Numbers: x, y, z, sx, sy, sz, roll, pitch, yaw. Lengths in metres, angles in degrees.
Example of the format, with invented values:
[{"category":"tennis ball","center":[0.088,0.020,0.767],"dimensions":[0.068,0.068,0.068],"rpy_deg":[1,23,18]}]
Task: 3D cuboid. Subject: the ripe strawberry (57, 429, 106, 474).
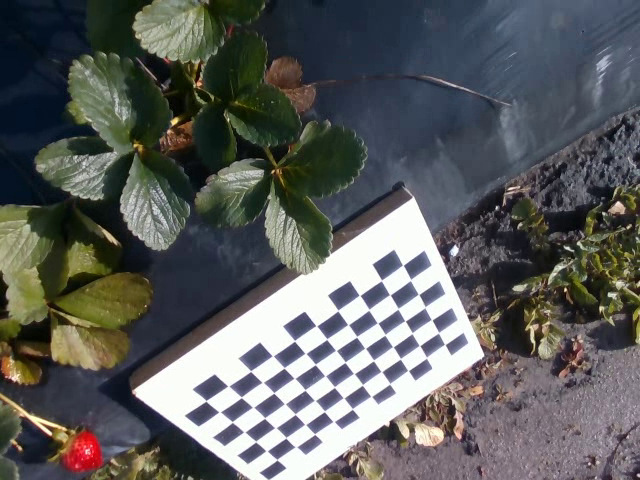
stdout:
[{"category":"ripe strawberry","center":[-0.198,0.180,0.523],"dimensions":[0.044,0.040,0.036],"rpy_deg":[35,15,-28]}]
